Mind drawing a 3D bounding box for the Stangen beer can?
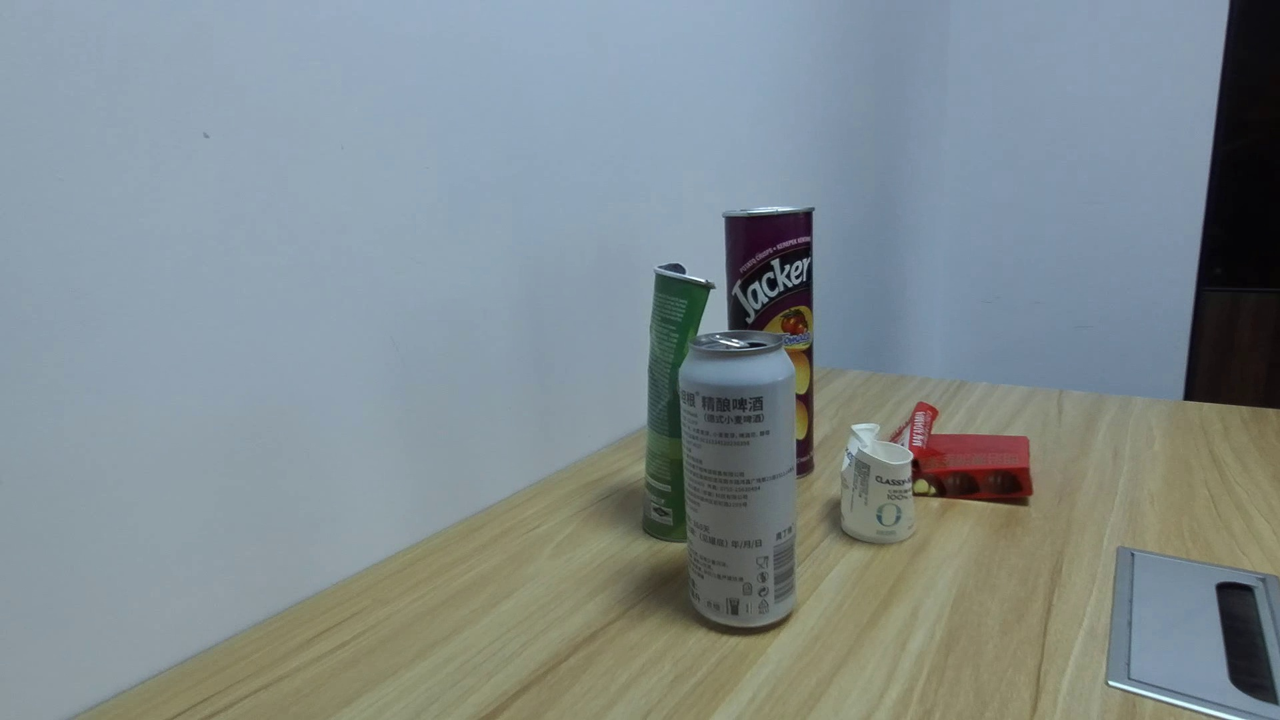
[{"bbox_3d":[0.059,0.071,0.420,0.067,0.171,0.067,-3,12,1],"label":"Stangen beer can"}]

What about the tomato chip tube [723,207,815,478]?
[{"bbox_3d":[0.118,-0.014,0.627,0.080,0.234,0.076,-3,11,3],"label":"tomato chip tube"}]

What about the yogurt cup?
[{"bbox_3d":[0.175,0.089,0.516,0.054,0.071,0.075,-10,17,-27],"label":"yogurt cup"}]

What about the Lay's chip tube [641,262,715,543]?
[{"bbox_3d":[0.031,0.030,0.533,0.069,0.201,0.077,-16,21,-36],"label":"Lay's chip tube"}]

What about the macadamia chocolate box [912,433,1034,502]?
[{"bbox_3d":[0.267,0.087,0.608,0.126,0.056,0.112,7,31,27],"label":"macadamia chocolate box"}]
